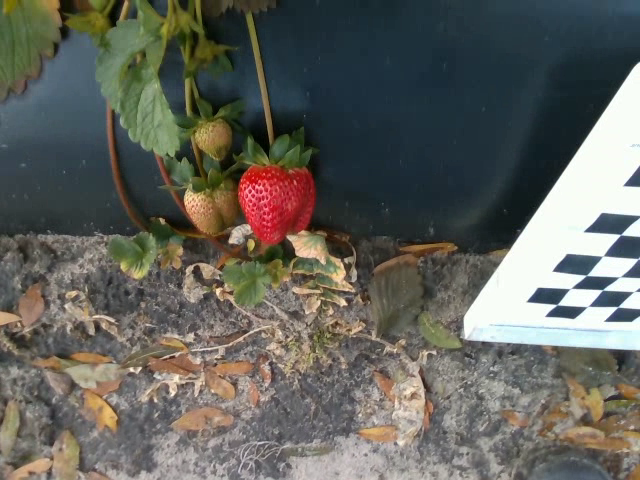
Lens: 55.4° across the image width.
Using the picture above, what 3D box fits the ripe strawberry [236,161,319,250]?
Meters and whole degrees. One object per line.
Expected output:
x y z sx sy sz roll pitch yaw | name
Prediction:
-0.031 -0.020 0.397 0.067 0.052 0.074 -6 -33 12 | ripe strawberry
